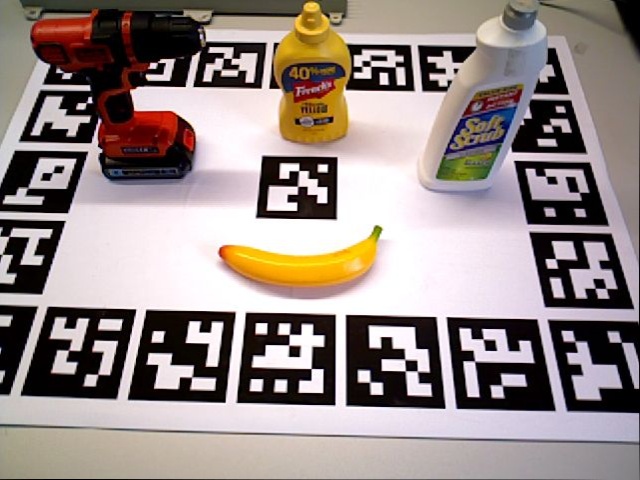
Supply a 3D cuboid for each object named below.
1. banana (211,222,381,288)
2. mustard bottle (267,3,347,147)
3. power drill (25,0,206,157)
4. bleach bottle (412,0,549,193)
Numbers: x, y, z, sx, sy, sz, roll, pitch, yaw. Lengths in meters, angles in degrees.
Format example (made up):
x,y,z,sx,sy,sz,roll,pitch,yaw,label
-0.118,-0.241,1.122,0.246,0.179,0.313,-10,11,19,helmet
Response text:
x,y,z,sx,sy,sz,roll,pitch,yaw,label
-0.025,0.020,0.612,0.196,0.039,0.073,-4,62,1,banana
-0.016,-0.197,0.661,0.095,0.195,0.058,-4,59,-6,mustard bottle
-0.205,-0.179,0.614,0.184,0.190,0.056,-5,59,1,power drill
0.173,-0.154,0.597,0.102,0.255,0.067,9,59,4,bleach bottle
